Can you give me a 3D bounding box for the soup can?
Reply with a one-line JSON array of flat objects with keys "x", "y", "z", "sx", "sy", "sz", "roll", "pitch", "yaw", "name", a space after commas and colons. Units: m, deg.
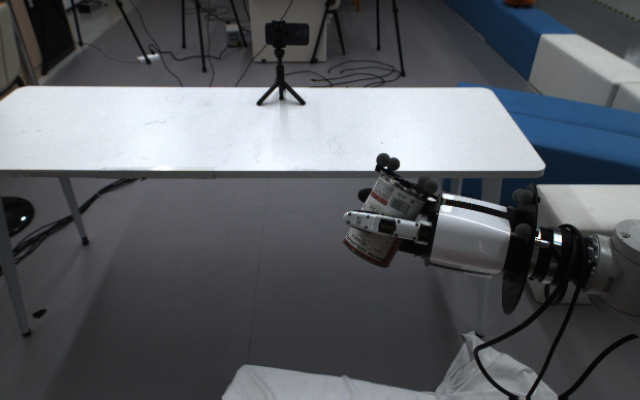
[{"x": 0.084, "y": 0.024, "z": 0.617, "sx": 0.067, "sy": 0.101, "sz": 0.067, "roll": 27, "pitch": 10, "yaw": -5, "name": "soup can"}]
